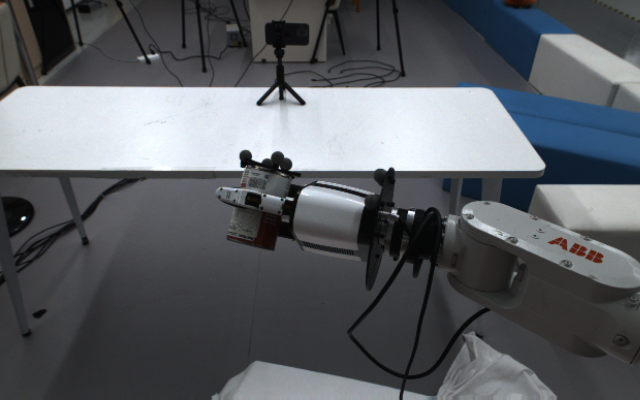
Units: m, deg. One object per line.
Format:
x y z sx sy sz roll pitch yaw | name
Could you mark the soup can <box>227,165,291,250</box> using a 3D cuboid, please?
-0.080 0.011 0.648 0.067 0.101 0.067 13 -6 1 | soup can
